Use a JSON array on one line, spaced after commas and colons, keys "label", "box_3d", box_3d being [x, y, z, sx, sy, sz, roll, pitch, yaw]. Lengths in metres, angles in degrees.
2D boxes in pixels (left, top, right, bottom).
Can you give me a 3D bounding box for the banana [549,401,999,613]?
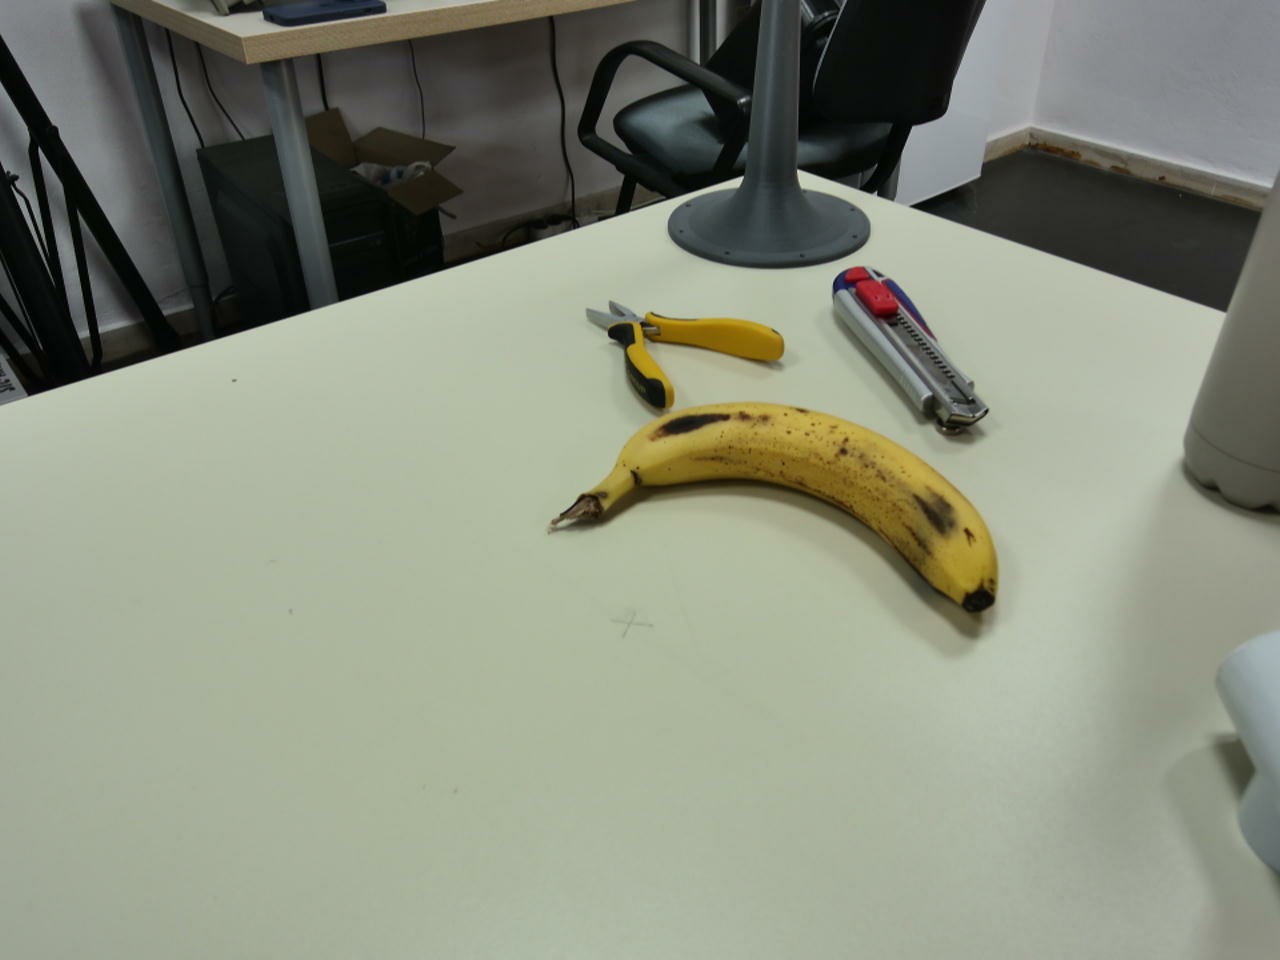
[{"label": "banana", "box_3d": [0.070, 0.003, 0.449, 0.186, 0.038, 0.097, 15, 37, 21]}]
